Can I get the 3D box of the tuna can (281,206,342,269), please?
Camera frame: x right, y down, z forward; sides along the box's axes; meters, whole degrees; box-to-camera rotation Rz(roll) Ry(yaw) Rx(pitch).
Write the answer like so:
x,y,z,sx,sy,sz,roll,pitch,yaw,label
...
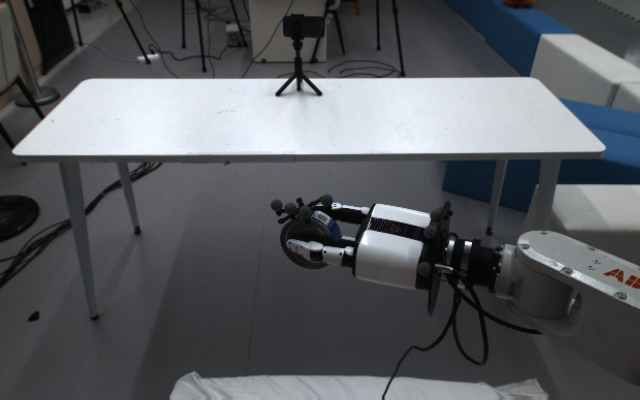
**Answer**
x,y,z,sx,sy,sz,roll,pitch,yaw,label
-0.010,0.061,0.706,0.085,0.085,0.034,13,28,15,tuna can
